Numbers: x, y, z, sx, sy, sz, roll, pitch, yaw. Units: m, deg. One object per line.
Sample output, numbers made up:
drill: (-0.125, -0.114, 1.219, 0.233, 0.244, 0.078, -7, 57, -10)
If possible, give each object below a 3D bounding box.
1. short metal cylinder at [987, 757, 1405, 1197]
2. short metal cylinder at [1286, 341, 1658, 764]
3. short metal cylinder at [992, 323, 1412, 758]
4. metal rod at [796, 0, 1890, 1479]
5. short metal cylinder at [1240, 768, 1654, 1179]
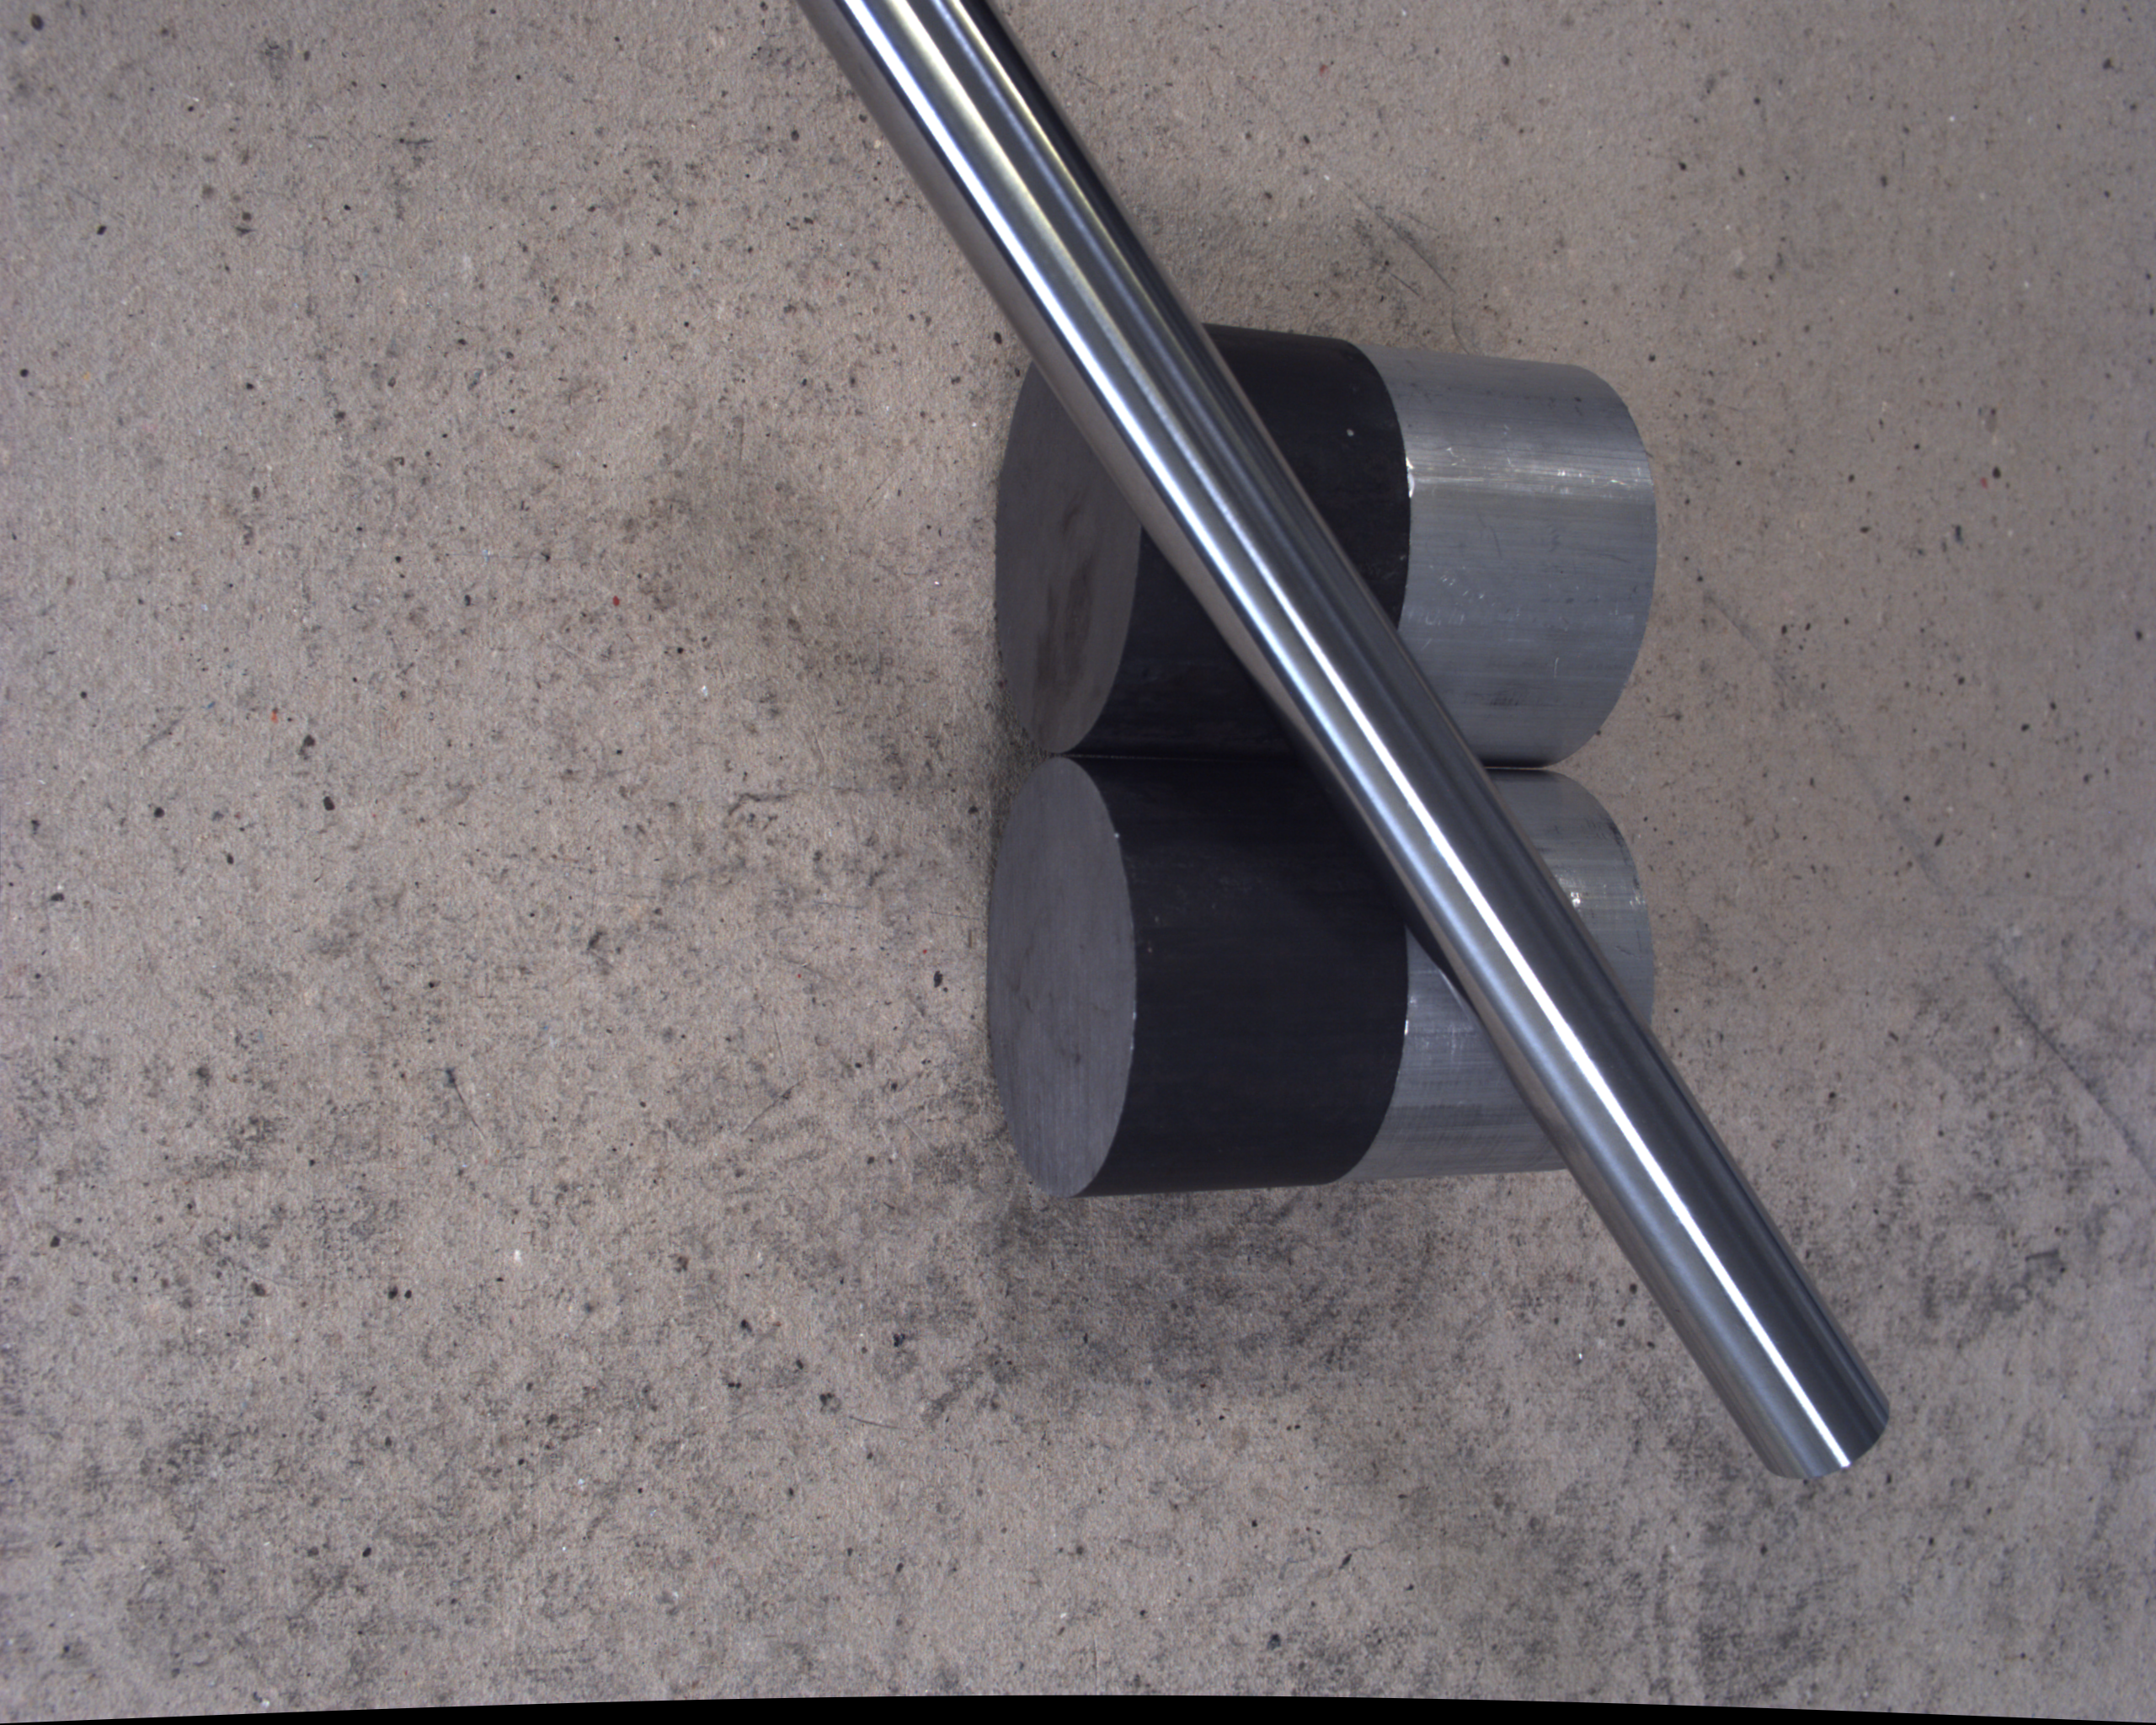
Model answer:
short metal cylinder: (0.019, 0.021, 0.388, 0.050, 0.080, 0.079, 1, 90, -20)
short metal cylinder: (0.067, -0.059, 0.406, 0.050, 0.080, 0.079, 1, 90, -20)
short metal cylinder: (0.020, -0.060, 0.389, 0.050, 0.080, 0.079, 1, 90, -20)
metal rod: (0.050, -0.018, 0.344, 0.025, 0.025, 0.299, -38, 103, -16)
short metal cylinder: (0.067, 0.021, 0.406, 0.050, 0.080, 0.079, 1, 90, -20)
